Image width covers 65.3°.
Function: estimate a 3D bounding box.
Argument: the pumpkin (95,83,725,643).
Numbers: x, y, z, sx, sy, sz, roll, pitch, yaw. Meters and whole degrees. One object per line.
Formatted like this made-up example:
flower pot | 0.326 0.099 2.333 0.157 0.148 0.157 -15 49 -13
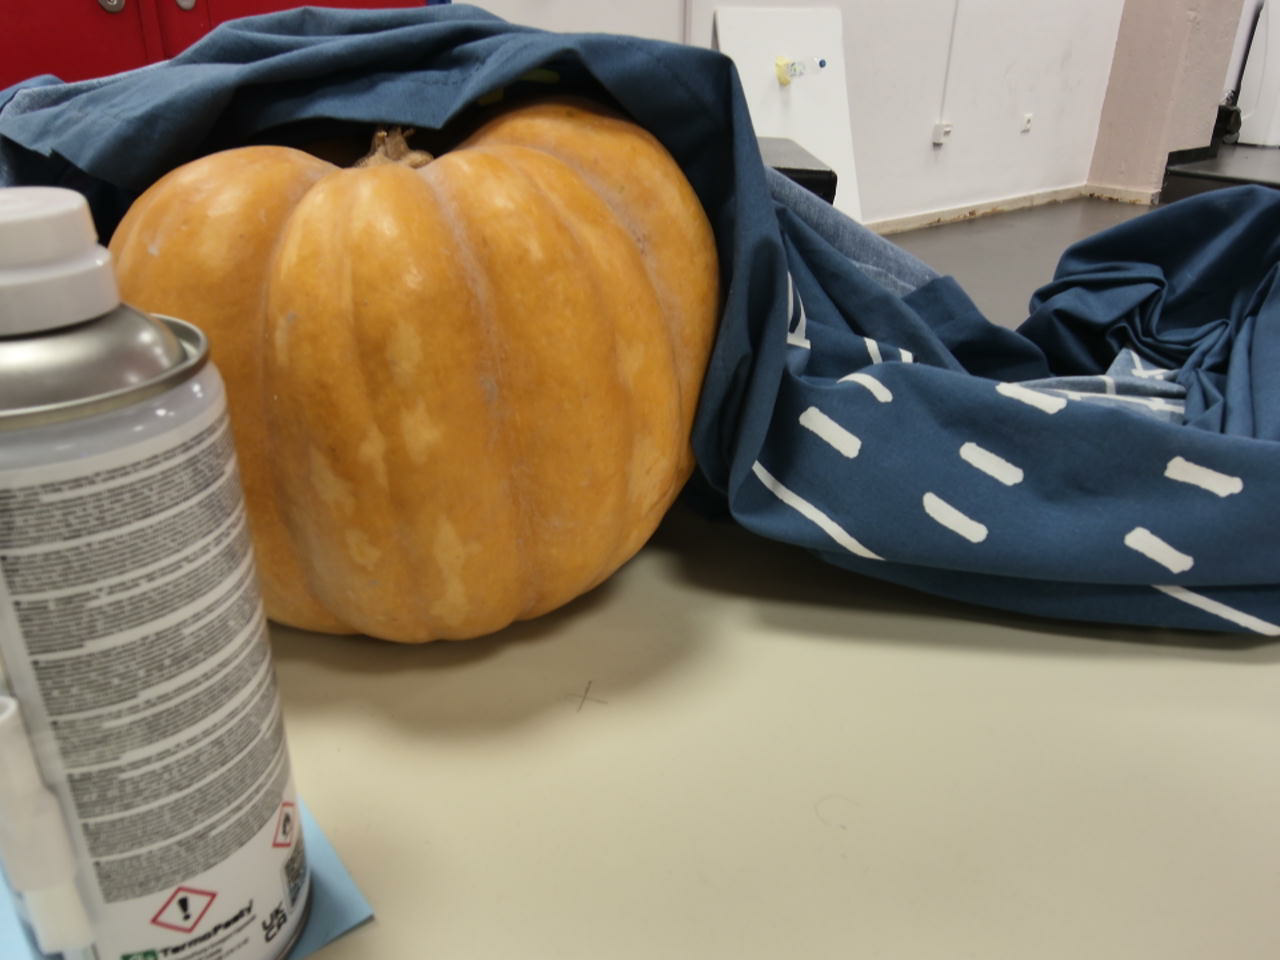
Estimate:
pumpkin | -0.078 -0.046 0.383 0.230 0.194 0.230 0 24 0
